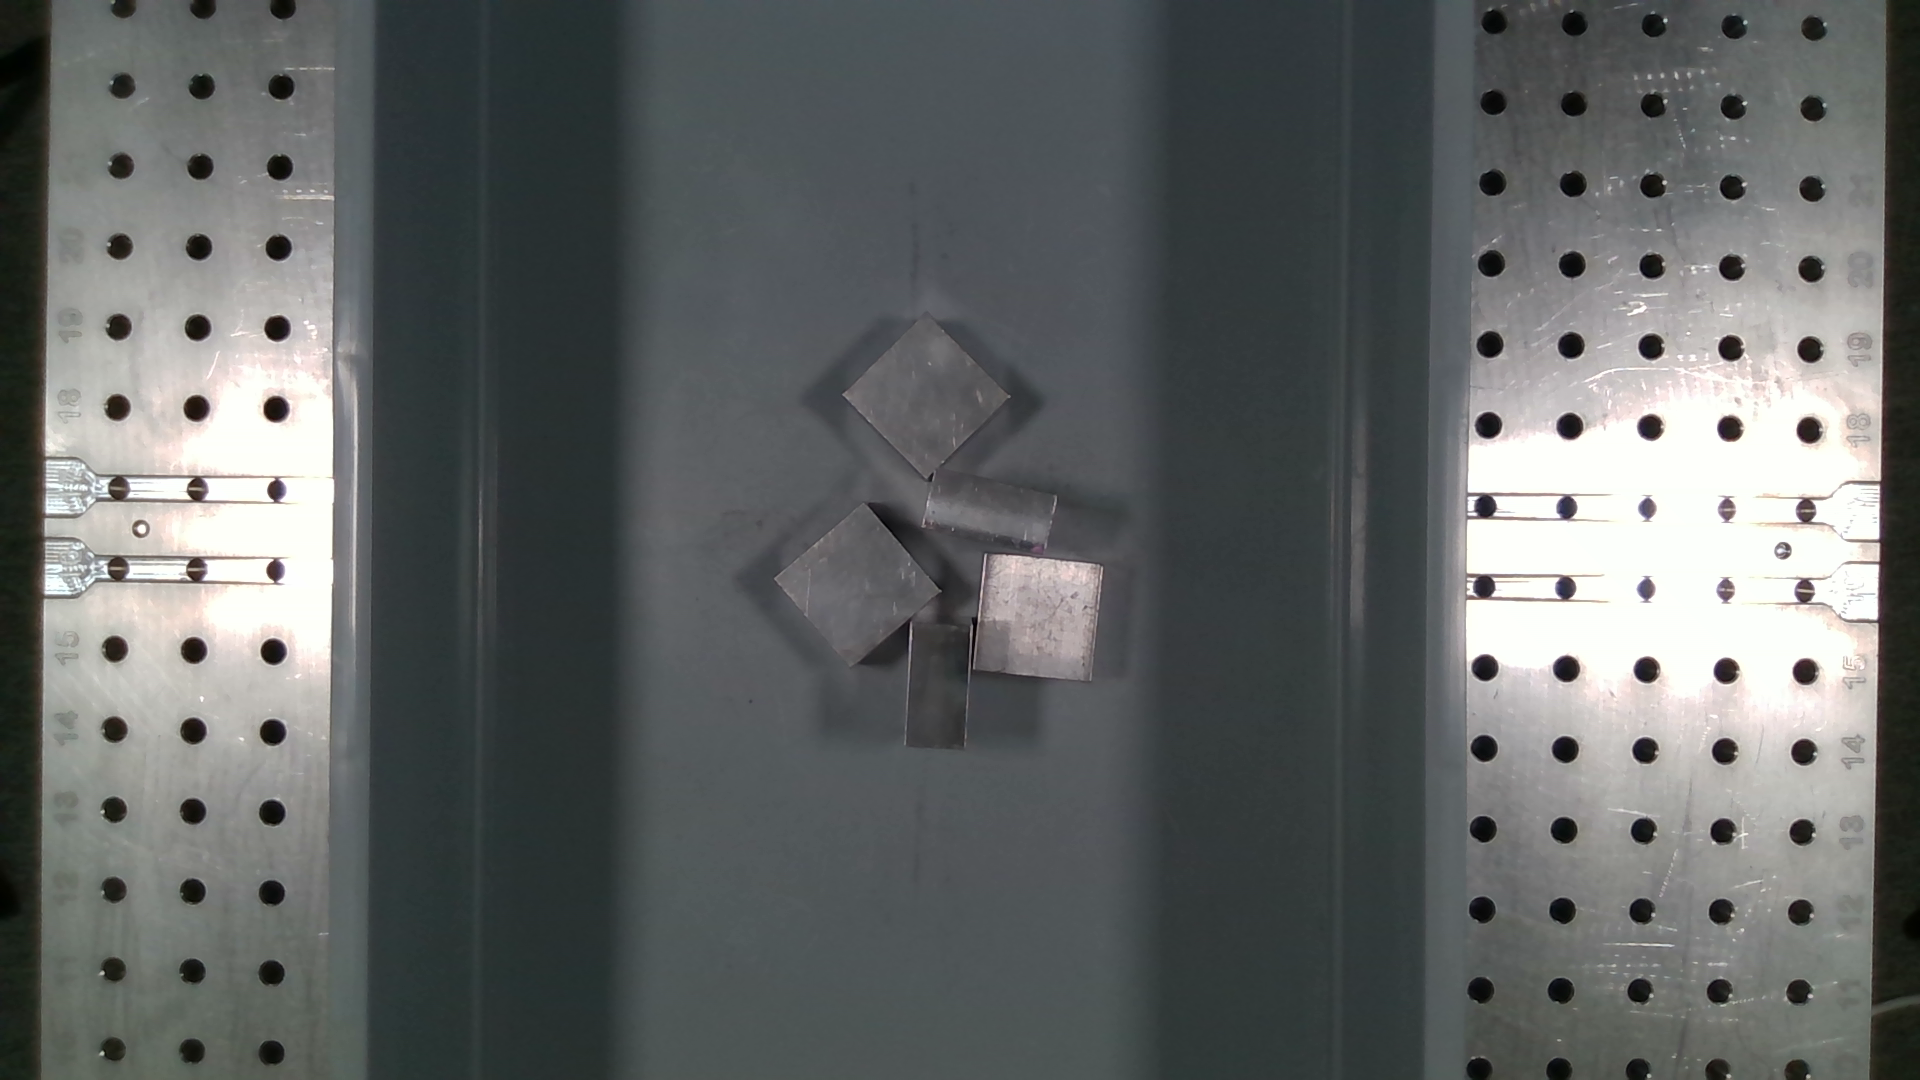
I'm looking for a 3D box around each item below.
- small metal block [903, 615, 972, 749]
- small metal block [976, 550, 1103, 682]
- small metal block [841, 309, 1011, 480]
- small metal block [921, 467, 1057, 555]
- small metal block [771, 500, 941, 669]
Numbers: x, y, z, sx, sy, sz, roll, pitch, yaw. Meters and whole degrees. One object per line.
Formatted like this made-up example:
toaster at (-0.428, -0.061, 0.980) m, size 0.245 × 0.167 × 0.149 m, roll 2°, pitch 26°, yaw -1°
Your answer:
small metal block at (-0.009, 0.058, 0.573) m, size 0.025 × 0.050 × 0.050 m, roll 3°, pitch 90°, yaw 0°
small metal block at (0.032, 0.032, 0.586) m, size 0.050 × 0.025 × 0.050 m, roll 6°, pitch 90°, yaw 0°
small metal block at (-0.014, -0.061, 0.585) m, size 0.050 × 0.025 × 0.050 m, roll -45°, pitch 90°, yaw 0°
small metal block at (0.012, -0.012, 0.573) m, size 0.050 × 0.050 × 0.025 m, roll 12°, pitch 90°, yaw 0°
small metal block at (-0.043, 0.018, 0.585) m, size 0.050 × 0.025 × 0.050 m, roll -41°, pitch 90°, yaw 0°
